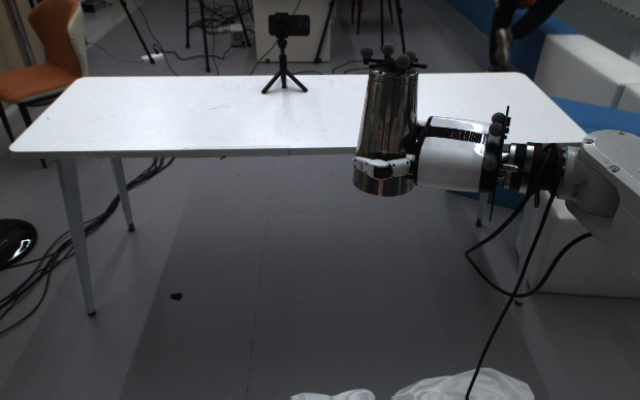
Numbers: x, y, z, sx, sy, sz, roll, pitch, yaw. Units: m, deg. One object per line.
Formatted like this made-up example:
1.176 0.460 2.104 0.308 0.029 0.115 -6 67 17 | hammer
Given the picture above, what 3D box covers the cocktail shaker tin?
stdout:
0.099 -0.102 0.694 0.093 0.170 0.093 1 28 -1 | cocktail shaker tin
